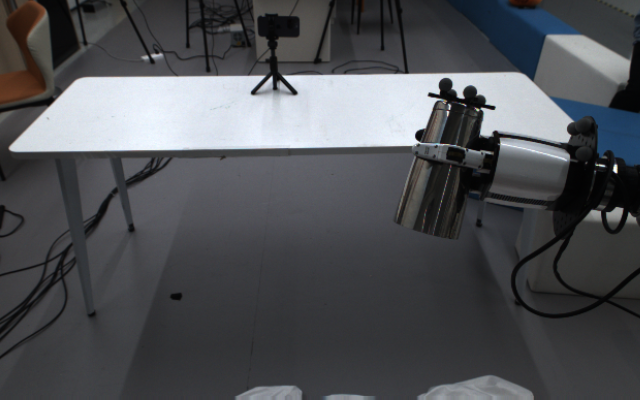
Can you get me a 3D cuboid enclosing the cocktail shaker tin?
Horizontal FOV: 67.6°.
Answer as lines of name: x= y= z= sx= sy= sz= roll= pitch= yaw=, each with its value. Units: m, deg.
cocktail shaker tin: x=0.167 y=-0.043 z=0.654 sx=0.093 sy=0.170 sz=0.093 roll=14 pitch=6 yaw=-2
